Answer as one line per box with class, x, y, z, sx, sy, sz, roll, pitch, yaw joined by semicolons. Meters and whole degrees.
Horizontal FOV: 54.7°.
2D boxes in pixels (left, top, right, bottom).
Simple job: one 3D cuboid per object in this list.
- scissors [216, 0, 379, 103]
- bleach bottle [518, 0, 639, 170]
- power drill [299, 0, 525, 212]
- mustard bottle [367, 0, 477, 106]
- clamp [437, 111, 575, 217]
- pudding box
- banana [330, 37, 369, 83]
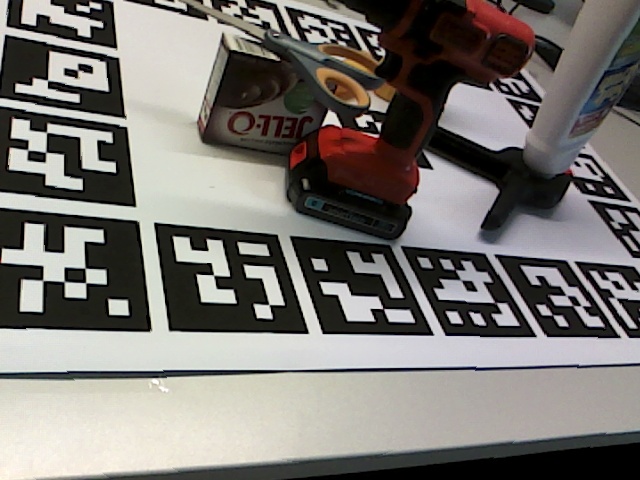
scissors;-0.041;-0.183;0.540;0.202;0.016;0.088;26;42;-11
bleach bottle;0.290;-0.169;0.678;0.102;0.250;0.068;-17;53;-34
power drill;0.048;-0.121;0.504;0.184;0.187;0.057;12;34;-15
mustard bottle;0.139;-0.246;0.748;0.096;0.191;0.058;16;40;-17
clamp;0.224;-0.088;0.717;0.201;0.037;0.166;0;48;-33
pudding box;-0.055;-0.133;0.579;0.113;0.090;0.039;8;36;-24
banana;0.015;-0.219;0.749;0.074;0.039;0.196;24;36;22
